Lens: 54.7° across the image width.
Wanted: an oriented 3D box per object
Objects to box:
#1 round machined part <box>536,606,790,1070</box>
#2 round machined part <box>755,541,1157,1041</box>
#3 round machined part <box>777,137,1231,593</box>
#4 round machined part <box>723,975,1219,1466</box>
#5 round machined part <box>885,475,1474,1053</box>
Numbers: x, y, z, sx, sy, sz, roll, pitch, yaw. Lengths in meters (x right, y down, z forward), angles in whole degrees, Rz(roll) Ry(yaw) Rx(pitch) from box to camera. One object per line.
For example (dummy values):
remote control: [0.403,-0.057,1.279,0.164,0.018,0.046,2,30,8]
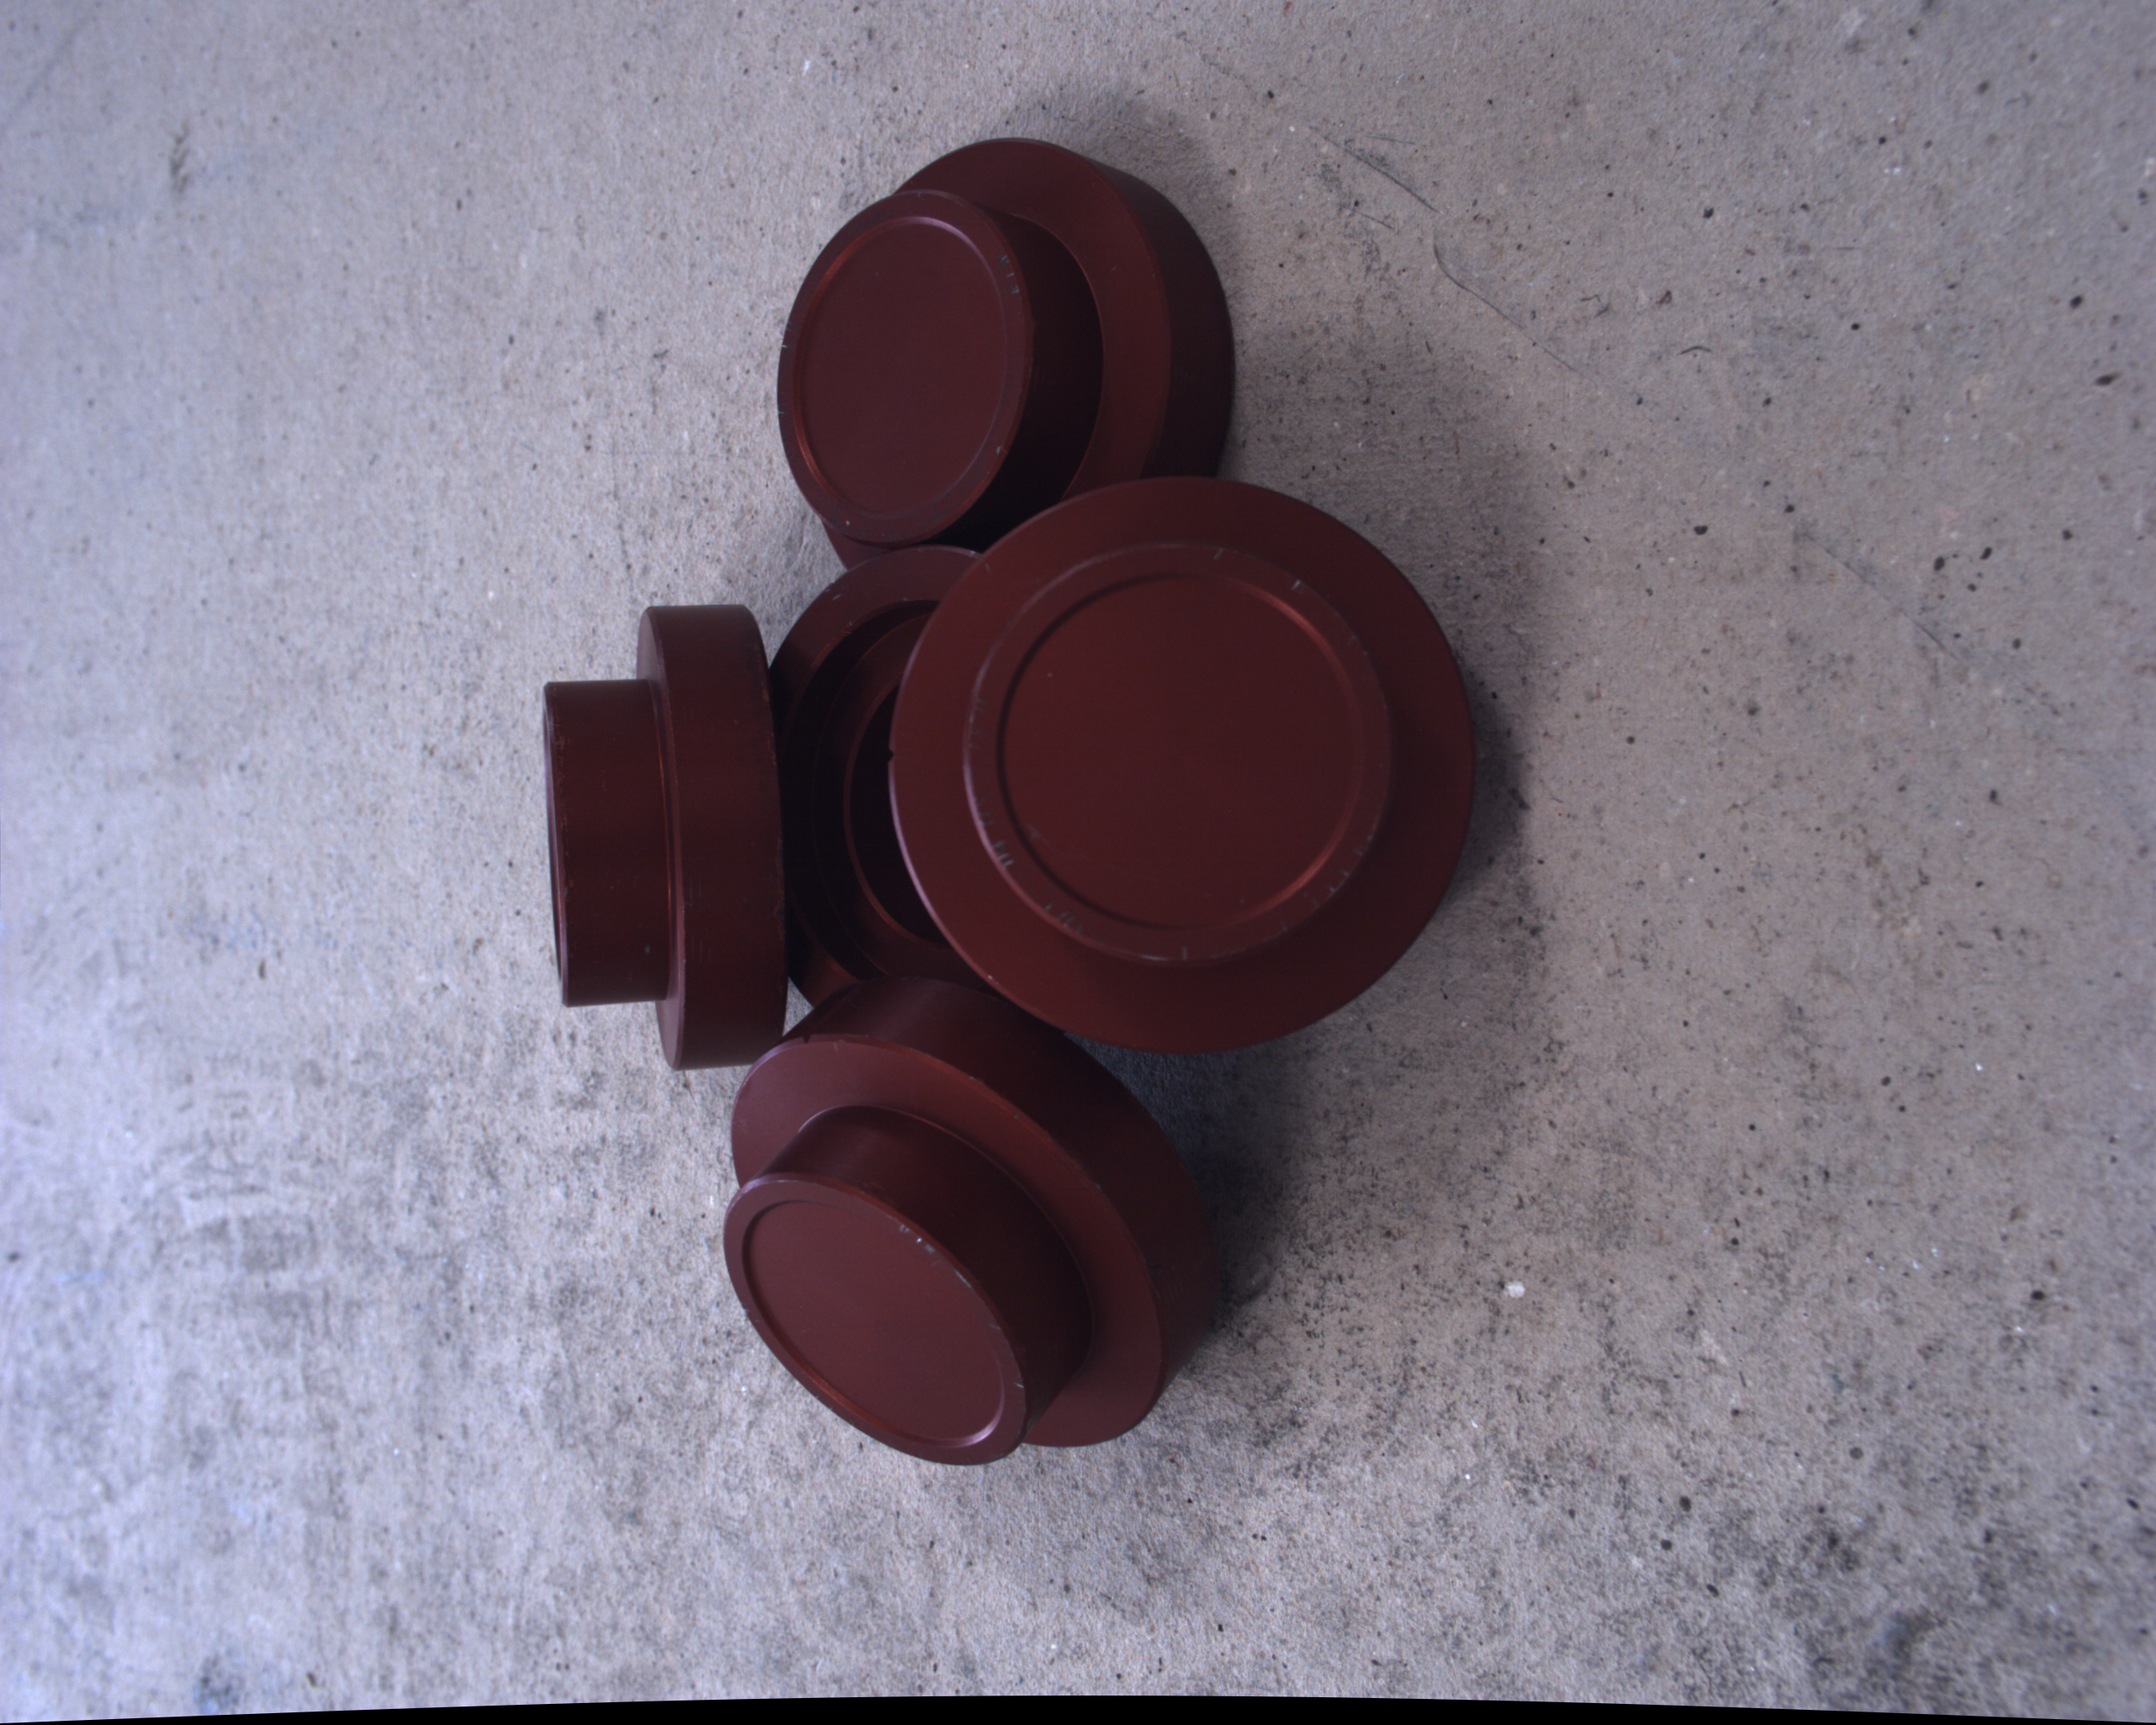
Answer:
round machined part: [-0.090,-0.005,0.438,0.098,0.042,0.097,177,89,-73]
round machined part: [-0.018,-0.012,0.410,0.098,0.042,0.097,-1,88,42]
round machined part: [-0.021,-0.094,0.413,0.098,0.042,0.097,-2,87,40]
round machined part: [-0.027,0.073,0.390,0.098,0.042,0.097,20,131,25]
round machined part: [0.017,-0.017,0.348,0.099,0.042,0.097,0,87,4]
